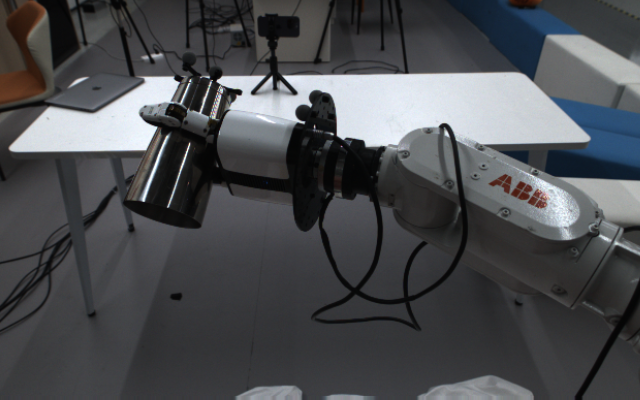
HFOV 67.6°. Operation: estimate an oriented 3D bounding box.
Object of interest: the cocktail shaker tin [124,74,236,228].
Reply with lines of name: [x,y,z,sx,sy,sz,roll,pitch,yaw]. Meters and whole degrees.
cocktail shaker tin: [-0.162,-0.059,0.584,0.093,0.093,0.170,10,71,11]
